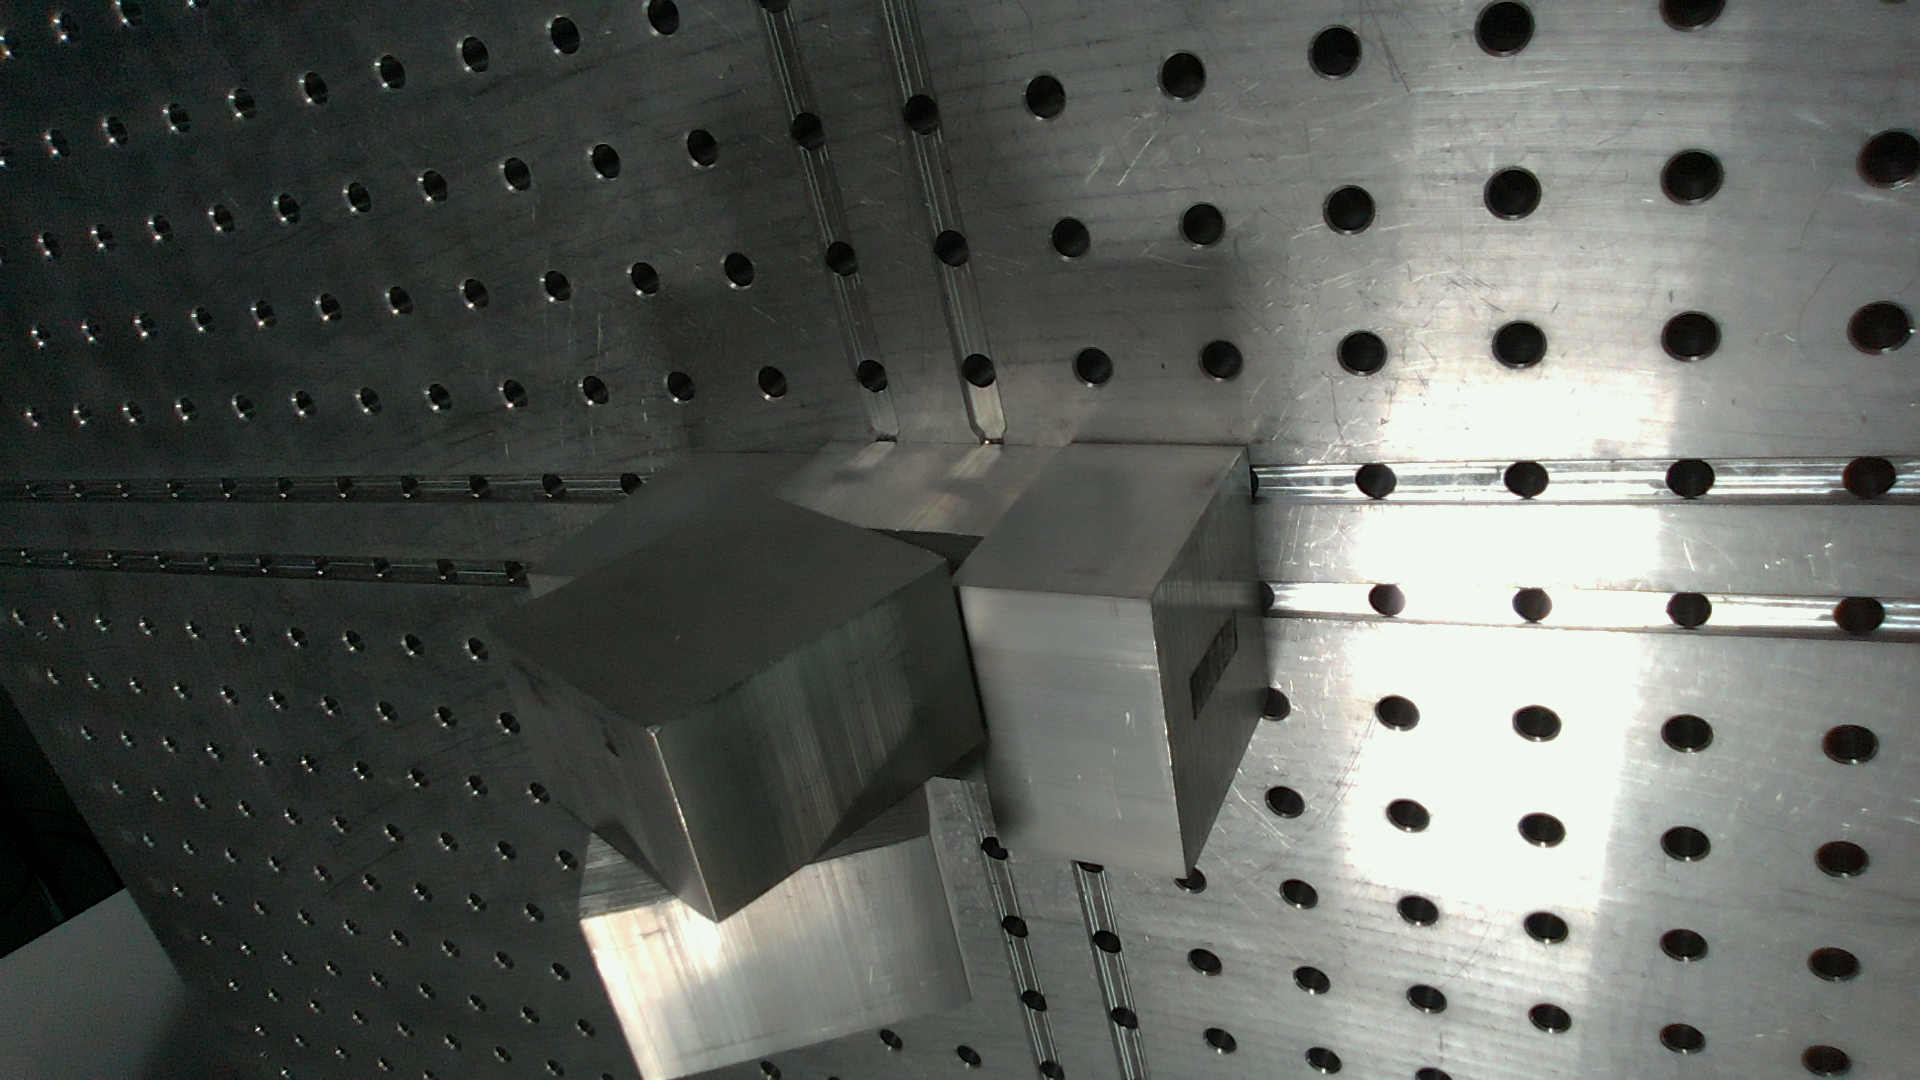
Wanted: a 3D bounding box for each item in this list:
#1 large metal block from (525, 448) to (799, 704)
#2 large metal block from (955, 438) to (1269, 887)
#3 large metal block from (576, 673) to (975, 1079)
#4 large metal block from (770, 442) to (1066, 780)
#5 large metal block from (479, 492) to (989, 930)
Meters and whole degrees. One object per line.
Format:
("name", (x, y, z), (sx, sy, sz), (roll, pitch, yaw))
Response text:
("large metal block", (-0.073, 0.025, 0.415), (0.050, 0.080, 0.080), (2, 119, 28))
("large metal block", (0.043, 0.028, 0.354), (0.050, 0.080, 0.080), (4, 120, 27))
("large metal block", (-0.045, 0.080, 0.347), (0.080, 0.080, 0.050), (-13, 116, -2))
("large metal block", (-0.009, 0.019, 0.394), (0.080, 0.050, 0.080), (3, 120, 27))
("large metal block", (-0.053, 0.034, 0.327), (0.080, 0.080, 0.050), (18, 129, 46))
